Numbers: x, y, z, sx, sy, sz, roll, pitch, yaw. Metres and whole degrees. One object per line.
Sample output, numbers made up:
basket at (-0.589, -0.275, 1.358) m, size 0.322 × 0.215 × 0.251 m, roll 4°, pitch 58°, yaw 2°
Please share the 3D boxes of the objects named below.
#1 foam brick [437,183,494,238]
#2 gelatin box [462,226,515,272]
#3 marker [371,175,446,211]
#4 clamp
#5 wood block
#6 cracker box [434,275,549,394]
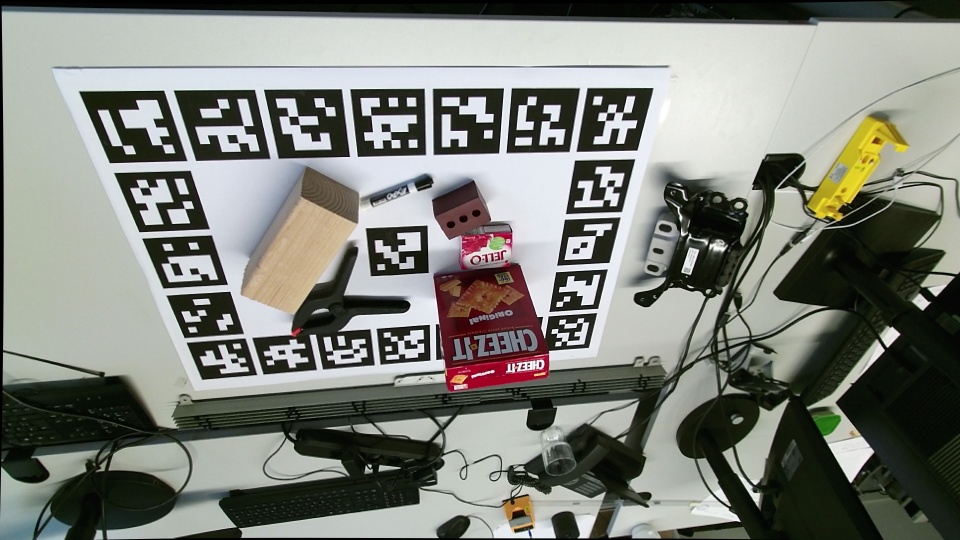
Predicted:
foam brick at (-0.021, -0.093, 0.856) m, size 0.078 × 0.051 × 0.053 m, roll -24°, pitch 125°, yaw 6°
gelatin box at (0.014, -0.036, 0.921) m, size 0.090 × 0.030 × 0.073 m, roll -4°, pitch 124°, yaw -8°
marker at (-0.111, -0.121, 0.837) m, size 0.121 × 0.019 × 0.019 m, roll -20°, pitch 125°, yaw 3°
clamp at (-0.241, 0.067, 0.936) m, size 0.203 × 0.036 × 0.166 m, roll -29°, pitch 125°, yaw 9°
wood block at (-0.269, -0.040, 0.825) m, size 0.090 × 0.090 × 0.206 m, roll 27°, pitch 119°, yaw -30°
cracker box at (0.011, 0.103, 0.897) m, size 0.165 × 0.212 × 0.072 m, roll -6°, pitch 127°, yaw -5°
